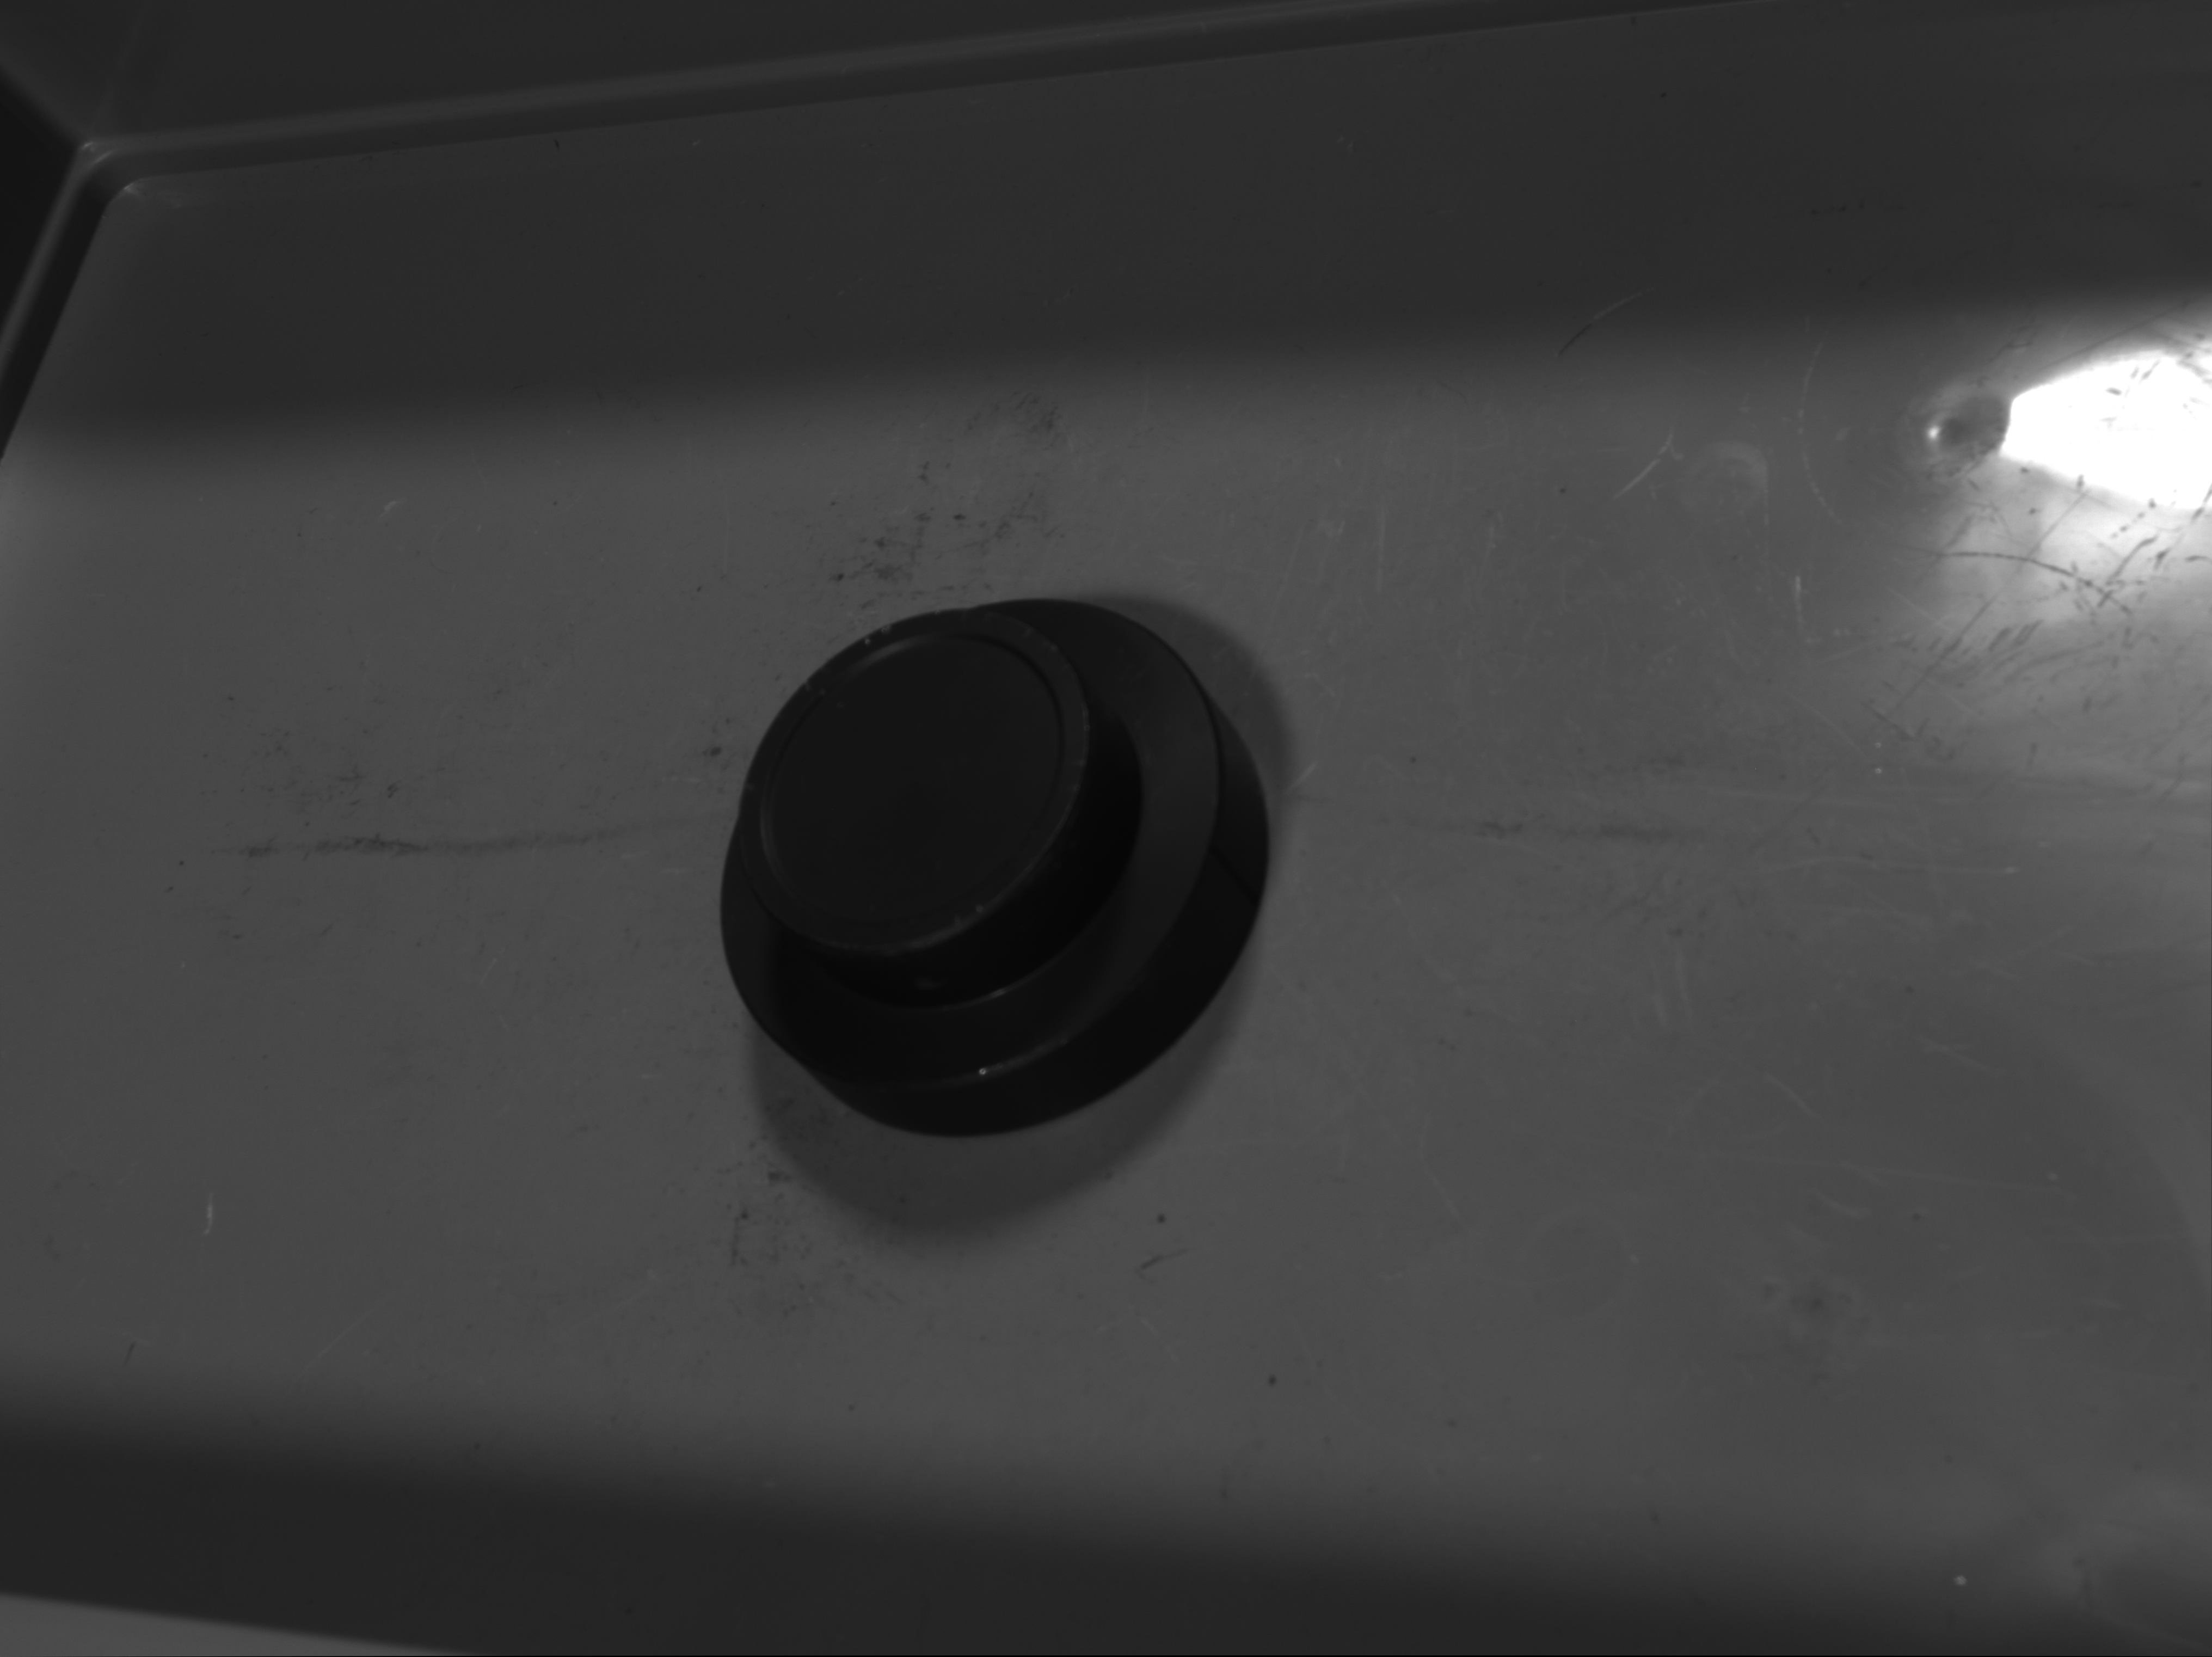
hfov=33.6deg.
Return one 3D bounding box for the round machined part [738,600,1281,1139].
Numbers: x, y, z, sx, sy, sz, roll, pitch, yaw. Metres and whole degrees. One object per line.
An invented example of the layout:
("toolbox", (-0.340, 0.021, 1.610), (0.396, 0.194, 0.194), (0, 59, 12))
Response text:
("round machined part", (-0.022, 0.001, 0.641), (0.098, 0.042, 0.098), (-13, 56, 21))
